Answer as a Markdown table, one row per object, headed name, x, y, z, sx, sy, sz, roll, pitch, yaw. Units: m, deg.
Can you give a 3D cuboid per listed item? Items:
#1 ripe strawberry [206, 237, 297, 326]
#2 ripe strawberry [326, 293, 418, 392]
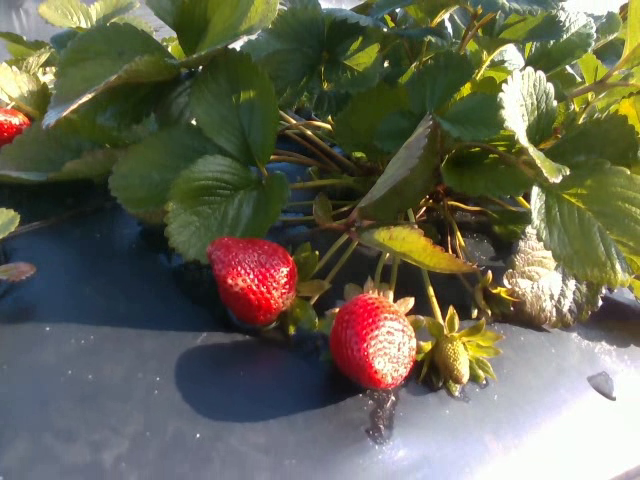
| name | x | y | z | sx | sy | sz | roll | pitch | yaw |
| --- | --- | --- | --- | --- | --- | --- | --- | --- | --- |
| ripe strawberry | -0.032 | 0.017 | 0.286 | 0.054 | 0.048 | 0.039 | 23 | -41 | -38 |
| ripe strawberry | 0.023 | 0.042 | 0.250 | 0.043 | 0.038 | 0.053 | 29 | 13 | -3 |
